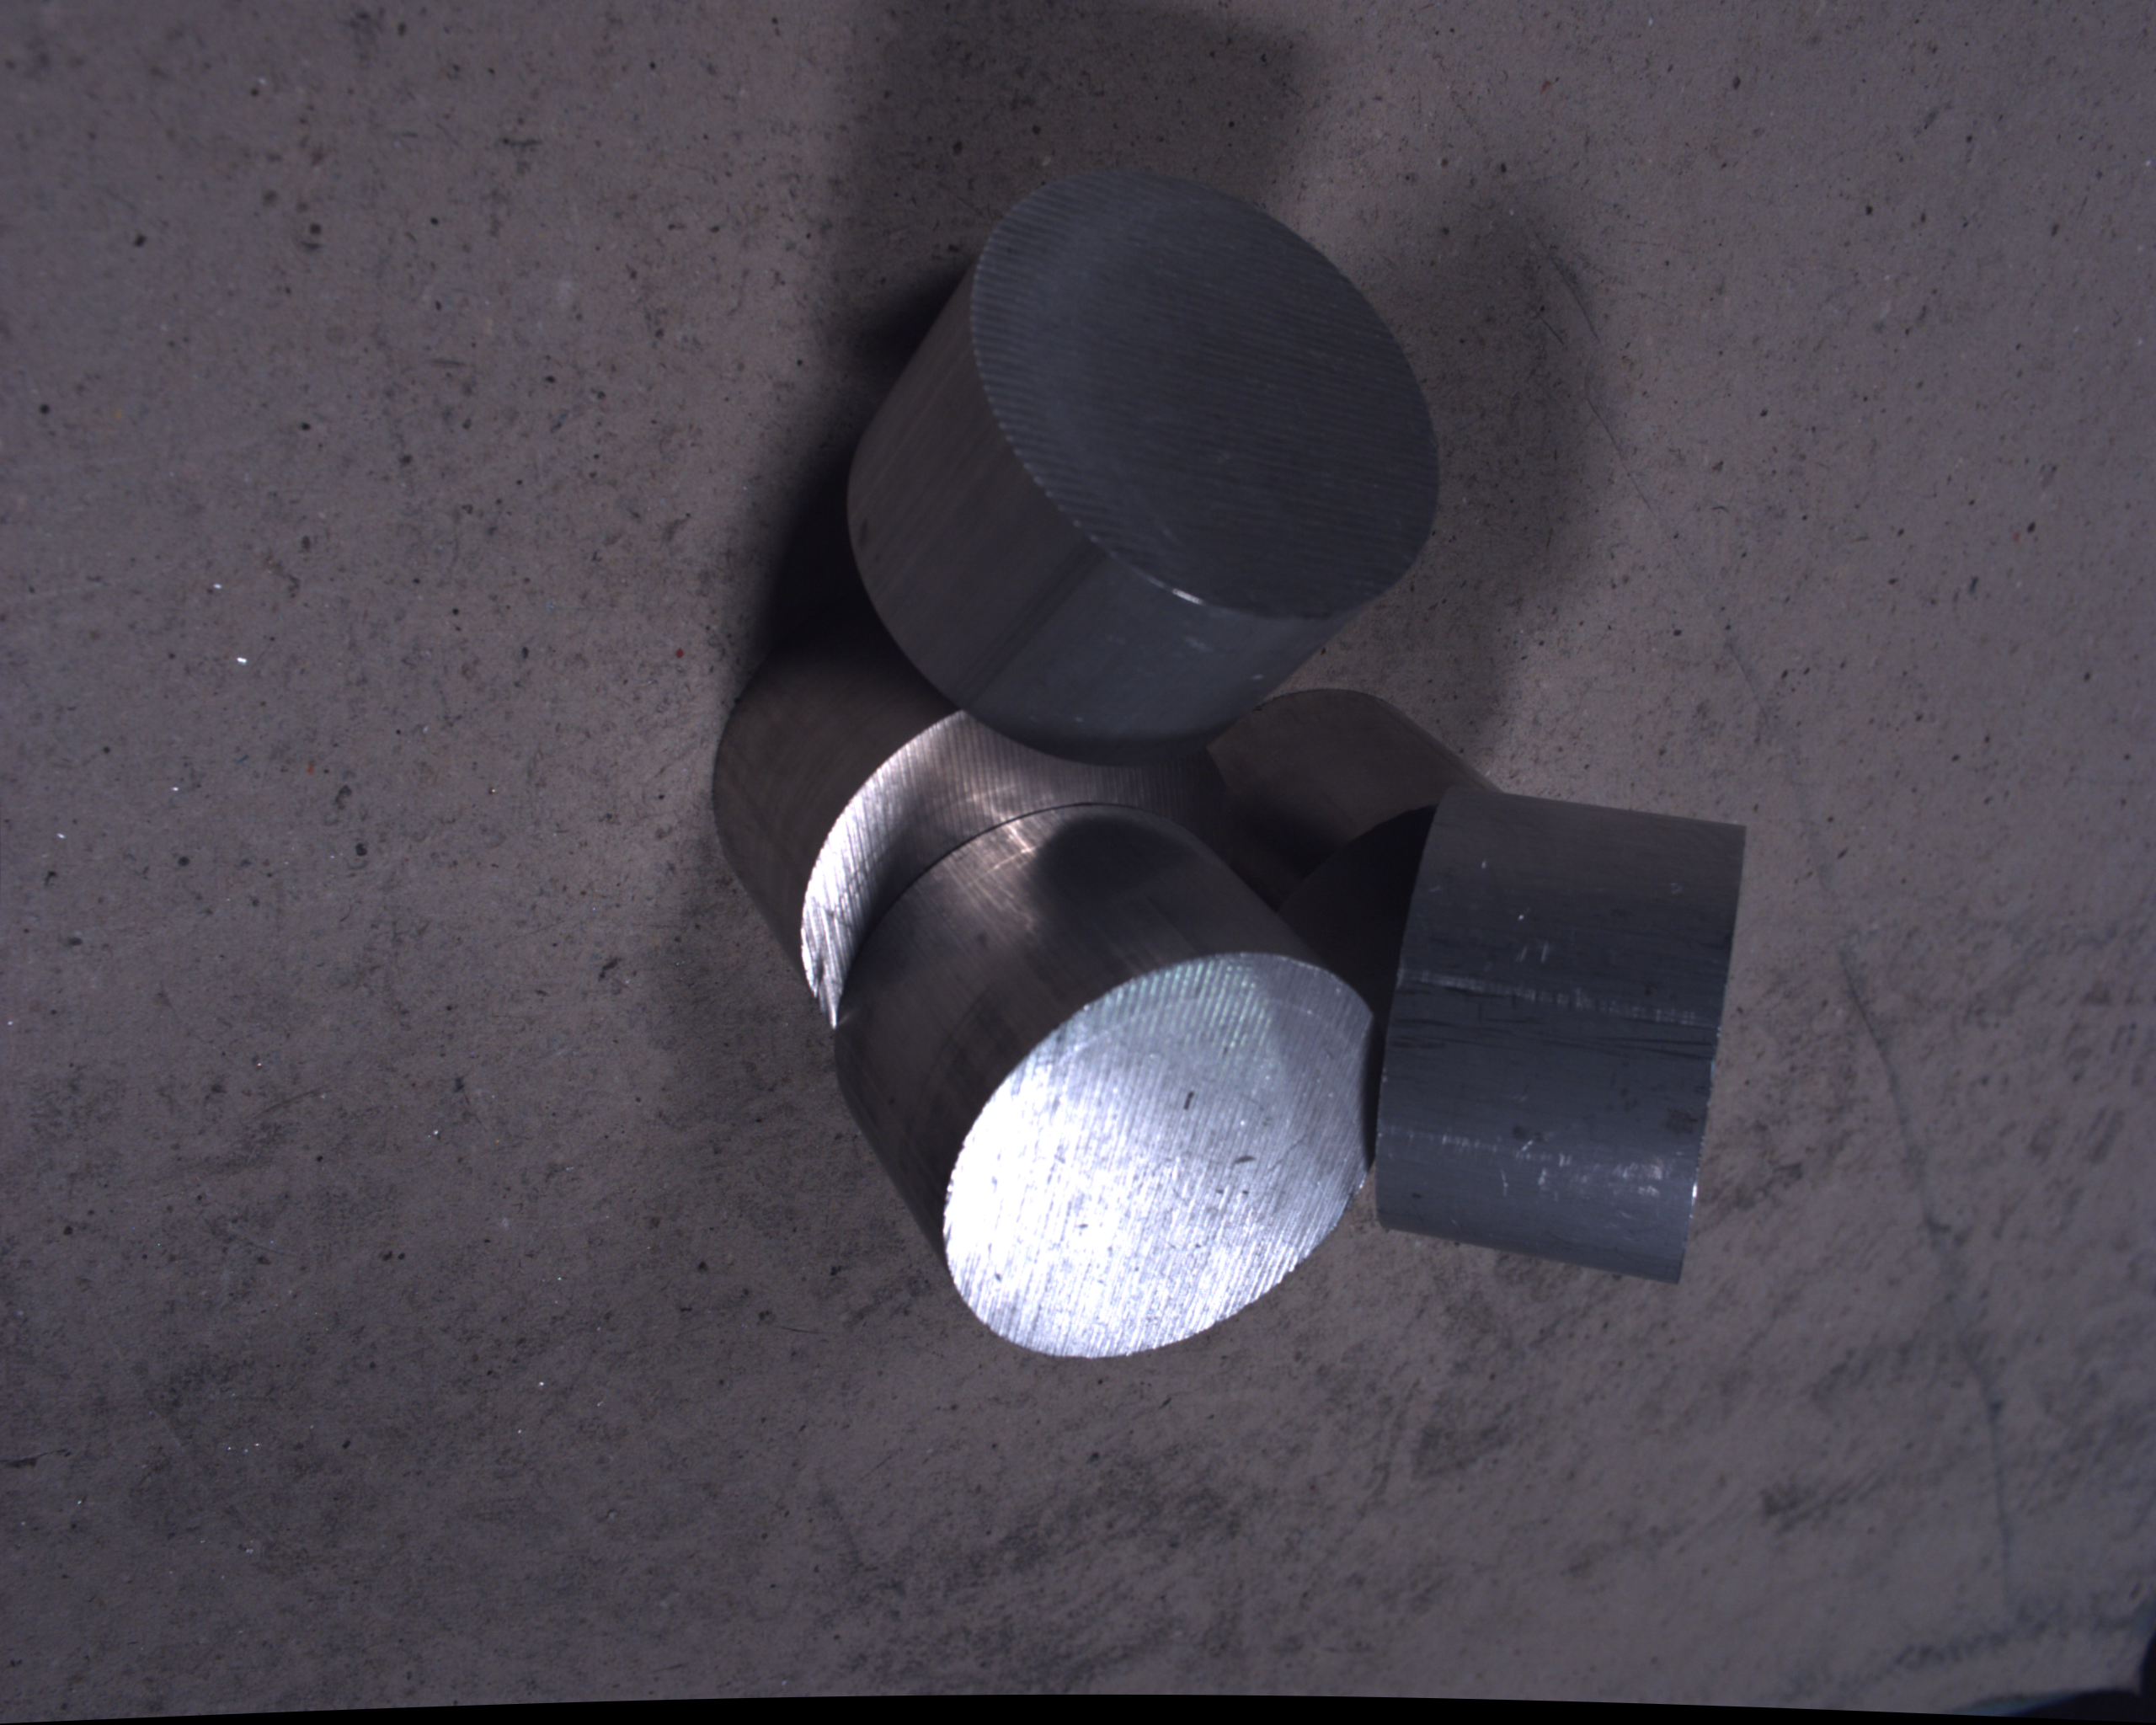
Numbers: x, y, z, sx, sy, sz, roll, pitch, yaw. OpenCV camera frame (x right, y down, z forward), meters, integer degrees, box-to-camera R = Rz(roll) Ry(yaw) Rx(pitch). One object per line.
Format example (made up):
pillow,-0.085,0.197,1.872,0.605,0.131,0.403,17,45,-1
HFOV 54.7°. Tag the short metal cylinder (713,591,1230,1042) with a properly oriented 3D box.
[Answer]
short metal cylinder,-0.020,-0.006,0.379,0.081,0.050,0.079,-14,125,-21

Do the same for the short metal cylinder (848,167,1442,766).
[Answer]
short metal cylinder,0.010,-0.062,0.333,0.081,0.080,0.050,0,157,-29

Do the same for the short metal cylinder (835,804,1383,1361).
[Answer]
short metal cylinder,0.005,0.037,0.354,0.081,0.050,0.079,-14,125,-21

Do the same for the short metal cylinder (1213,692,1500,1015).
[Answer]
short metal cylinder,0.055,0.011,0.430,0.081,0.050,0.079,-14,125,-21

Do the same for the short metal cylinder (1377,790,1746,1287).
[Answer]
short metal cylinder,0.085,0.030,0.366,0.050,0.080,0.079,8,124,16
